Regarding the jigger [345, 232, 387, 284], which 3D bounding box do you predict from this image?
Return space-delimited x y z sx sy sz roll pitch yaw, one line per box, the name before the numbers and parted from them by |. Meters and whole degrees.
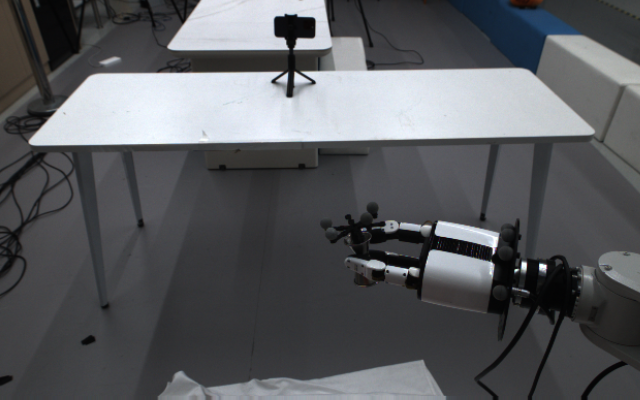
jigger | 0.062 0.083 0.686 0.043 0.071 0.043 -14 21 6
